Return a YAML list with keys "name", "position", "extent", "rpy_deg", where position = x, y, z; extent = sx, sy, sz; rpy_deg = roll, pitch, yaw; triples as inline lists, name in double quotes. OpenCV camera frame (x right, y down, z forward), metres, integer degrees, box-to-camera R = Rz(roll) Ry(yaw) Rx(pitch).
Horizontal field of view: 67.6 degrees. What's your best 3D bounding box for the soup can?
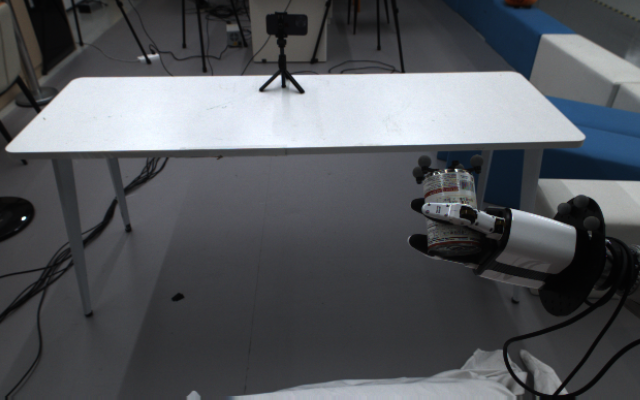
- name: "soup can"
  position: [0.174, 0.017, 0.635]
  extent: [0.067, 0.067, 0.101]
  rpy_deg: [1, 72, -2]
